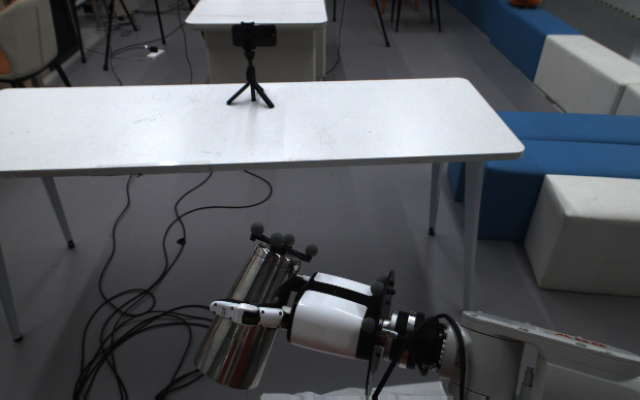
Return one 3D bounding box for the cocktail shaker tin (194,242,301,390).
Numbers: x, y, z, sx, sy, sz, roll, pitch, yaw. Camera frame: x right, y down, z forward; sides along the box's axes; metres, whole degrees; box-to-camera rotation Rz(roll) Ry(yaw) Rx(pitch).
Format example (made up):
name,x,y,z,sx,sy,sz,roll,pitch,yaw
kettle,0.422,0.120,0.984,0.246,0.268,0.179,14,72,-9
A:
name,x,y,z,sx,sy,sz,roll,pitch,yaw
cocktail shaker tin,-0.087,0.146,0.637,0.093,0.170,0.093,23,0,0
